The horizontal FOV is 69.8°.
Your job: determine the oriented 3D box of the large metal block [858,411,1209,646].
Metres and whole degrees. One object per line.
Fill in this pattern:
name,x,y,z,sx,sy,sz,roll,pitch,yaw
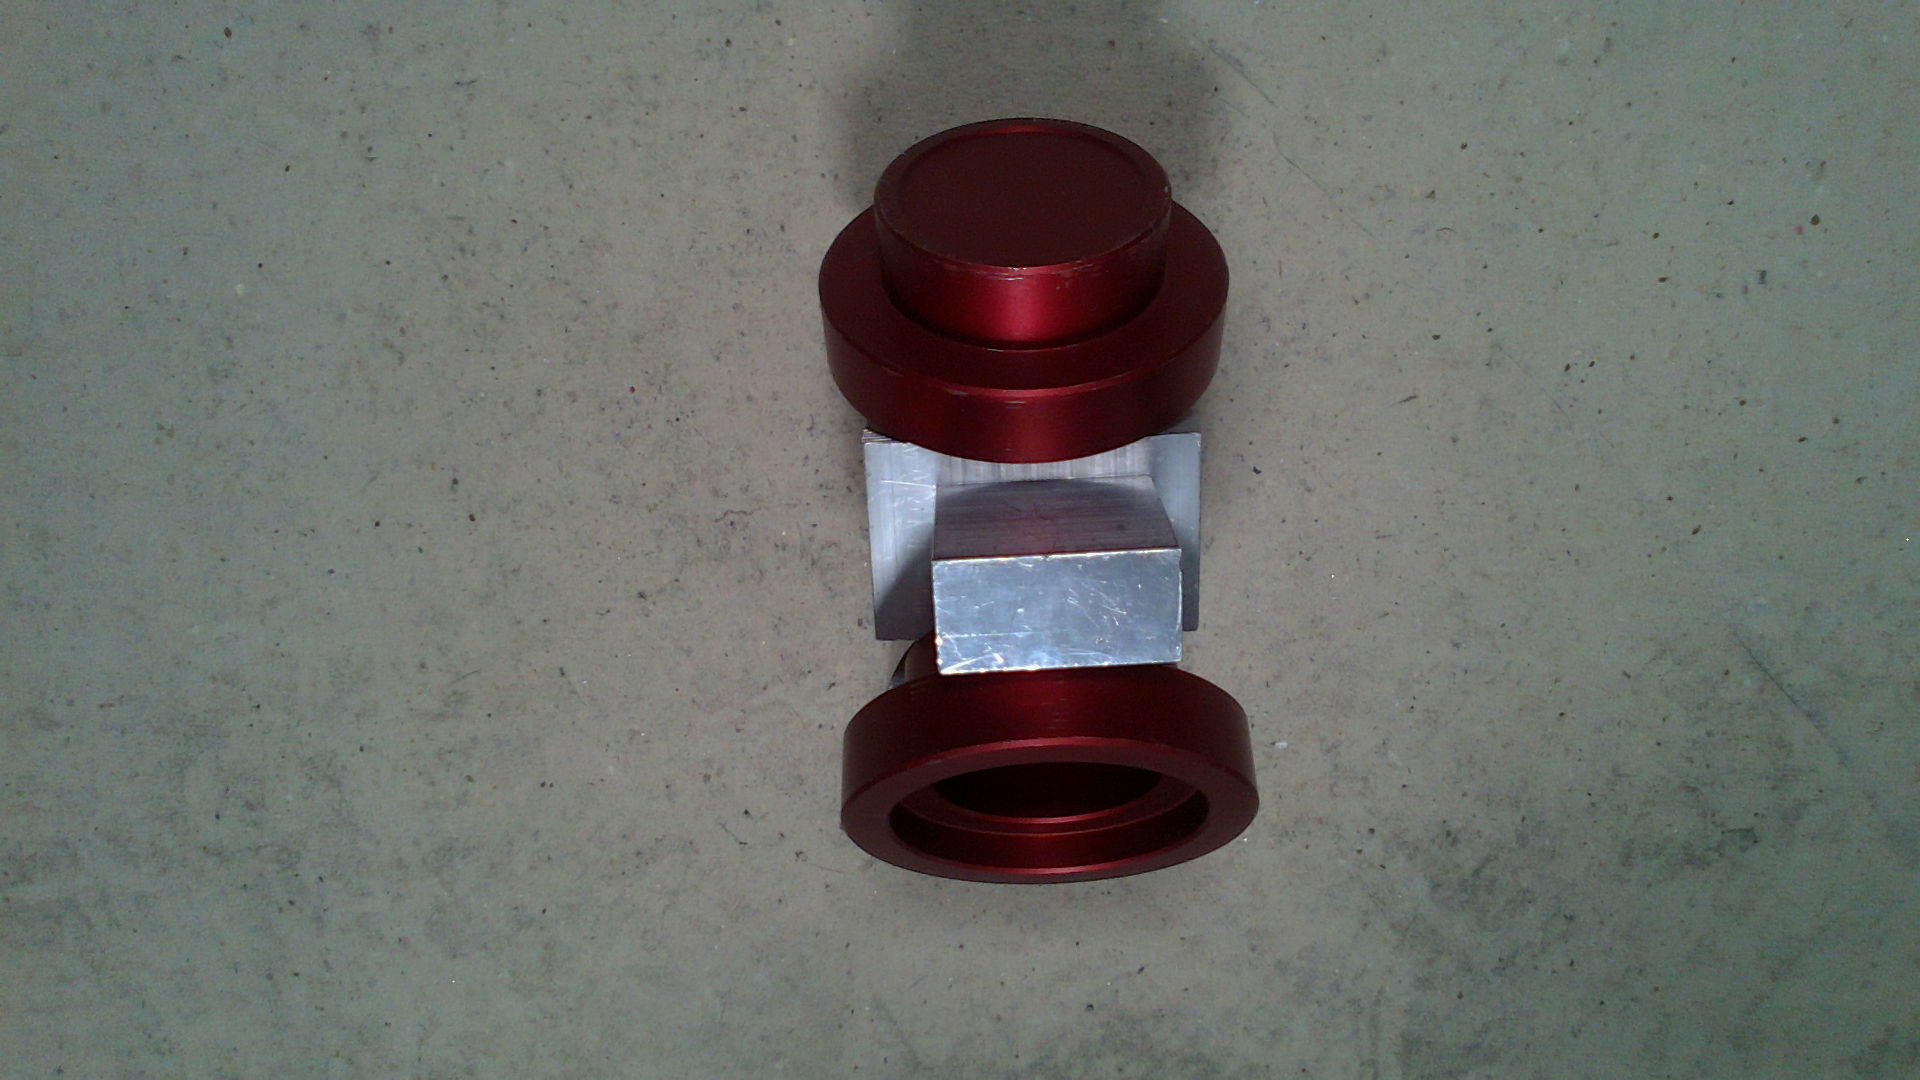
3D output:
large metal block,0.018,-0.013,0.359,0.080,0.080,0.050,-2,110,1

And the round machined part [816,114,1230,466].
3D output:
round machined part,0.015,-0.066,0.327,0.098,0.098,0.042,-2,135,1

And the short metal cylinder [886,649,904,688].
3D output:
short metal cylinder,0.019,0.042,0.397,0.080,0.050,0.080,0,110,0

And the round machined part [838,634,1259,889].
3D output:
round machined part,0.020,0.049,0.333,0.098,0.042,0.098,-1,149,0

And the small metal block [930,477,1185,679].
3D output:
small metal block,0.020,0.007,0.297,0.050,0.050,0.025,-3,110,1
